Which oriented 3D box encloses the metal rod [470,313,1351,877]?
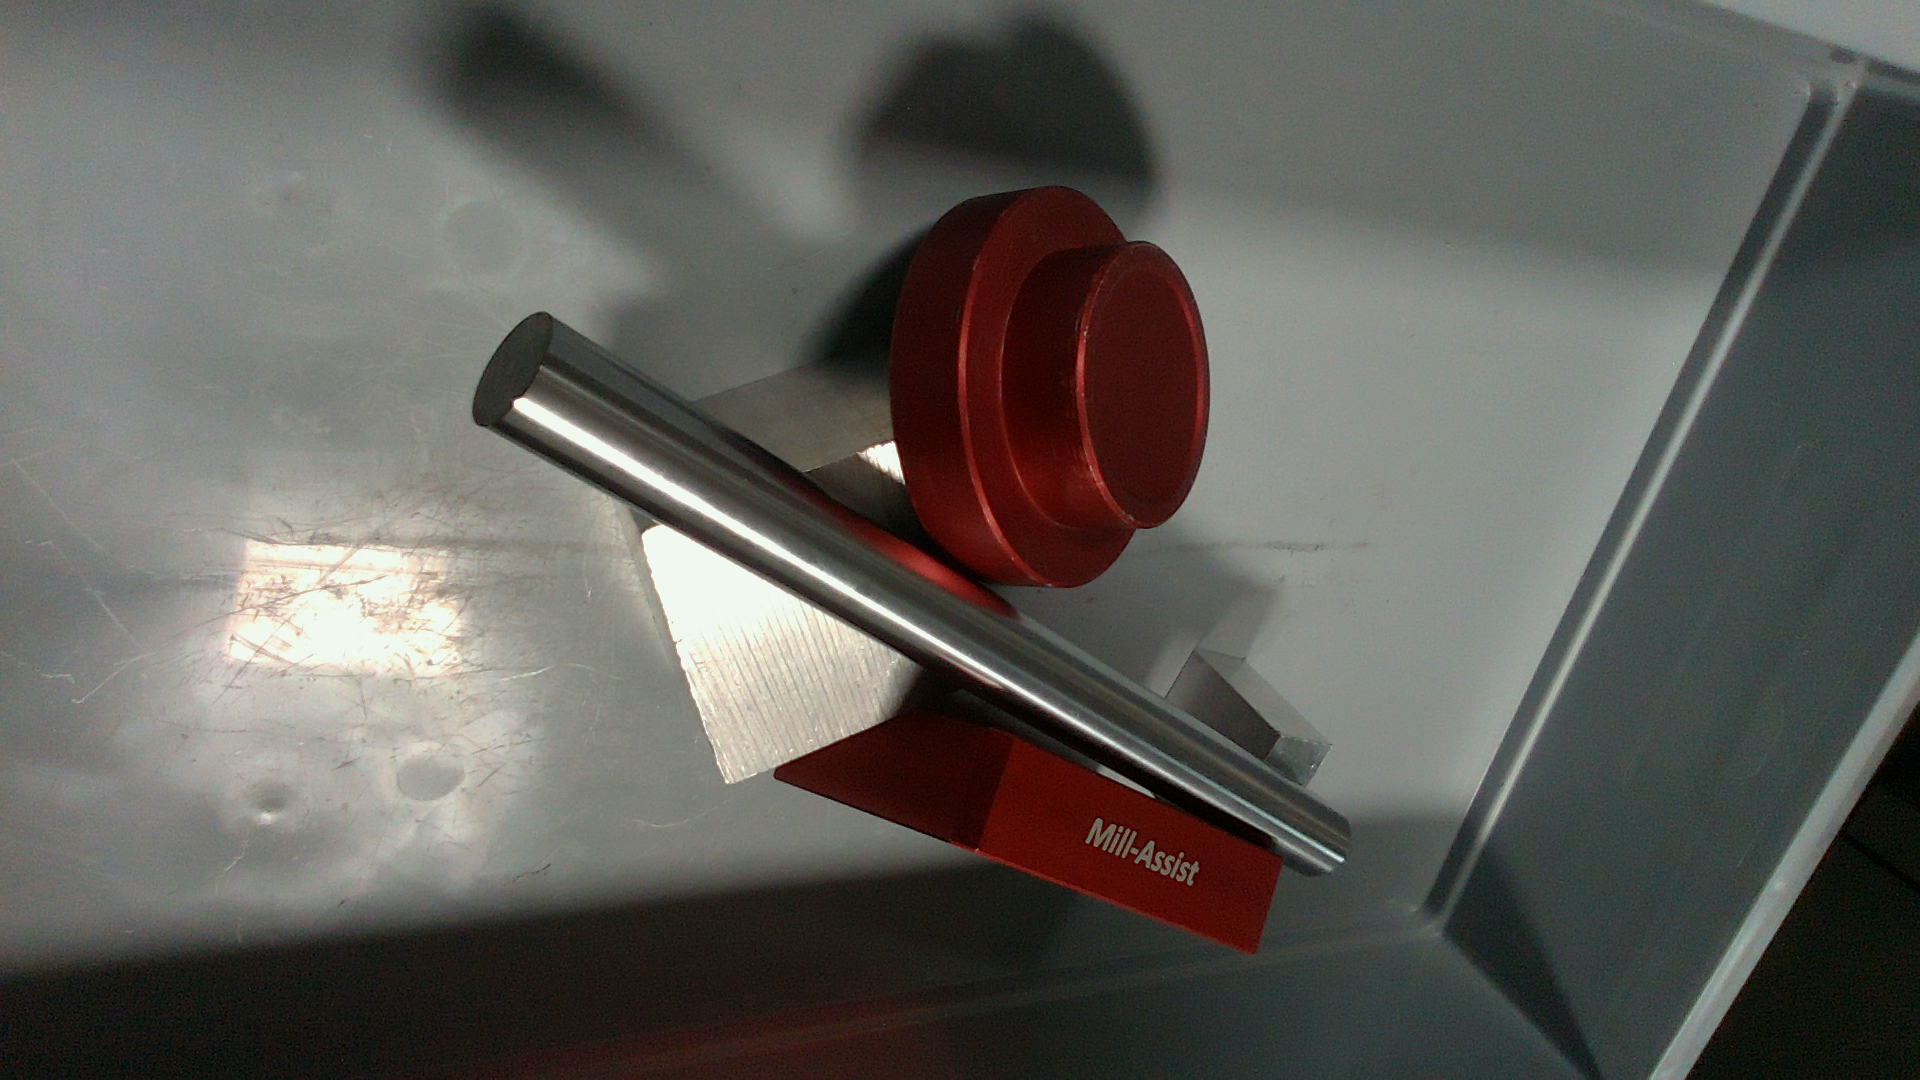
[{"bbox_3d":[0.015,0.033,0.350,0.301,0.025,0.025,33,100,-38],"label":"metal rod"}]

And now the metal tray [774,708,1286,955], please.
[{"bbox_3d":[0.022,0.083,0.404,0.130,0.090,0.030,29,75,-38],"label":"metal tray"}]

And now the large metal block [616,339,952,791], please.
[{"bbox_3d":[-0.040,0.005,0.353,0.080,0.050,0.080,-21,126,-16],"label":"large metal block"}]

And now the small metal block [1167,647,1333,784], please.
[{"bbox_3d":[0.090,0.072,0.465,0.025,0.050,0.050,15,110,-34],"label":"small metal block"}]

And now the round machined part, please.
[{"bbox_3d":[0.029,-0.037,0.337,0.098,0.042,0.098,-2,92,-56],"label":"round machined part"}]
